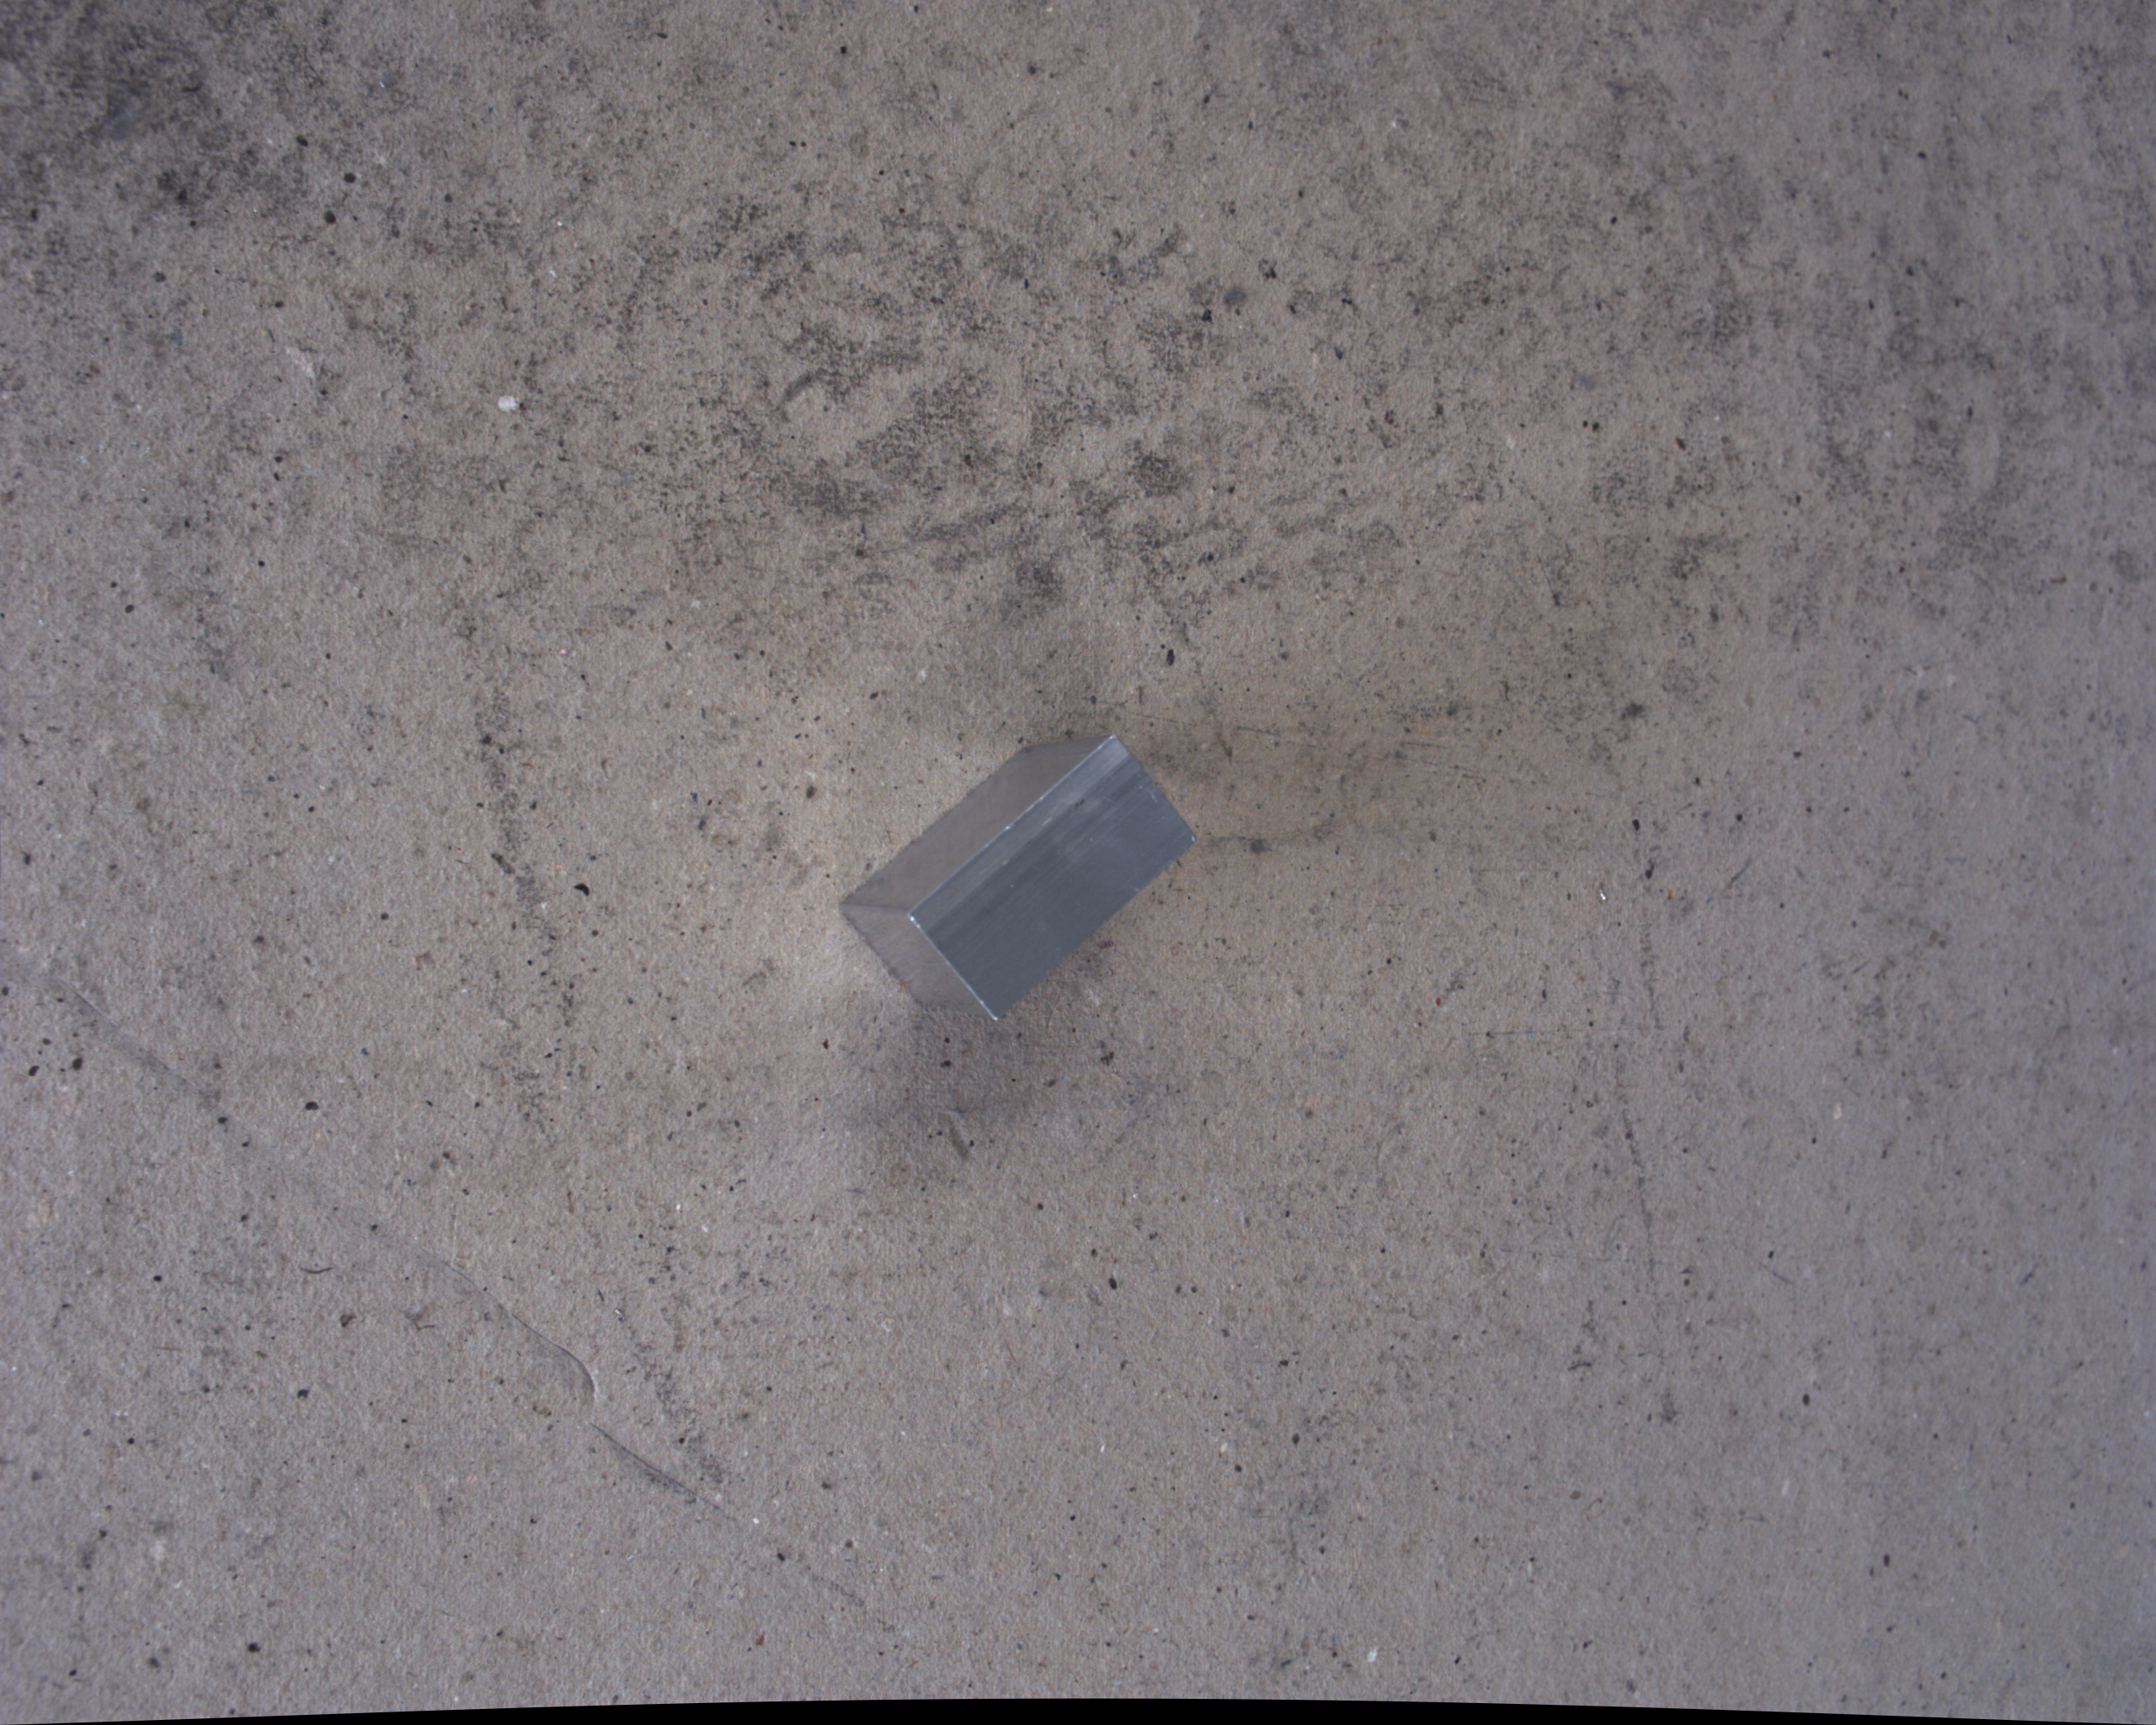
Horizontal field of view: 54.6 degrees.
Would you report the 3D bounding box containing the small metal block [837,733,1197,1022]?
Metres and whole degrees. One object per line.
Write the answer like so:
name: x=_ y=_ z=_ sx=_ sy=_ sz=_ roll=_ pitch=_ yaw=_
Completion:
small metal block: x=-0.013 y=0.002 z=0.392 sx=0.050 sy=0.050 sz=0.025 roll=-42 pitch=104 yaw=-15
